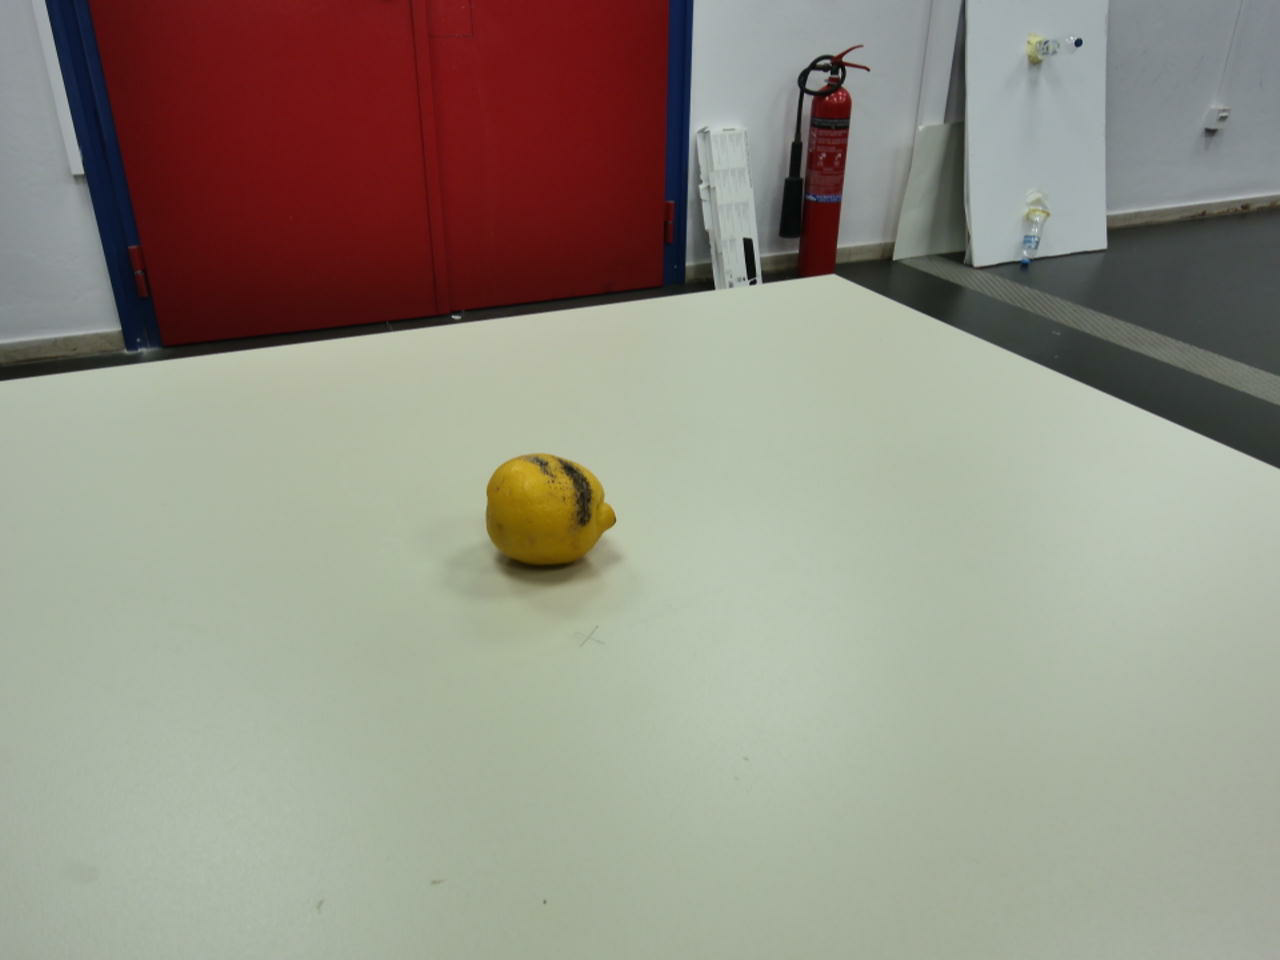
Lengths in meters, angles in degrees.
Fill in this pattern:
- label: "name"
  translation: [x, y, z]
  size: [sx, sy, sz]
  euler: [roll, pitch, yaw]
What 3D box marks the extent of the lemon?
- label: "lemon"
  translation: [-0.049, 0.015, 0.506]
  size: [0.061, 0.056, 0.058]
  euler: [-16, 30, -30]
